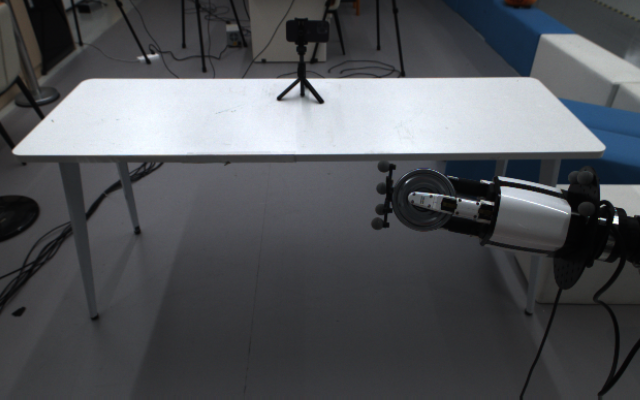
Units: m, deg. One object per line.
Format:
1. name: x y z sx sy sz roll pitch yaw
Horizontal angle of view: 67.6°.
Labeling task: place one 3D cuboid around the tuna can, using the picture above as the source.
1. tuna can: 0.142 -0.003 0.655 0.085 0.085 0.034 10 2 11
